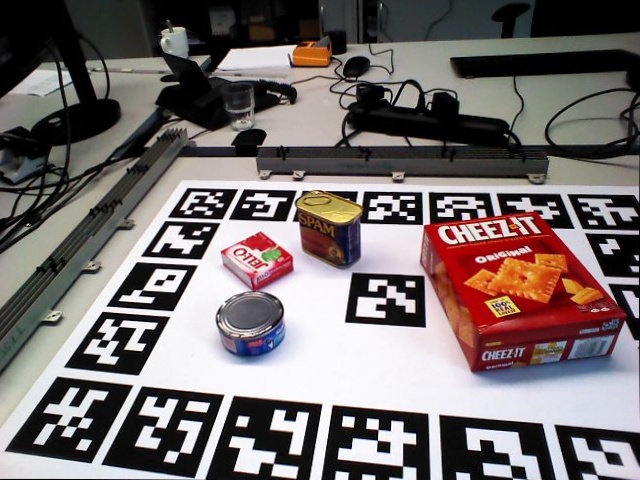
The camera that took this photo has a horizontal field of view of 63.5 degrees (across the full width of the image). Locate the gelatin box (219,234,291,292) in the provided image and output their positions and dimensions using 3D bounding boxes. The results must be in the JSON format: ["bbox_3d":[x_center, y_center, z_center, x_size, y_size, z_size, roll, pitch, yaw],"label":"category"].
[{"bbox_3d":[-0.097,0.032,0.775,0.073,0.030,0.089,-25,42,-31],"label":"gelatin box"}]

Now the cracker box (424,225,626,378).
[{"bbox_3d":[0.242,0.066,0.654,0.164,0.072,0.213,-6,33,-4],"label":"cracker box"}]

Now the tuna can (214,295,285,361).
[{"bbox_3d":[-0.088,0.110,0.652,0.086,0.034,0.085,-5,37,3],"label":"tuna can"}]

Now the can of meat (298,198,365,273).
[{"bbox_3d":[0.020,-0.006,0.781,0.102,0.084,0.057,22,42,35],"label":"can of meat"}]
